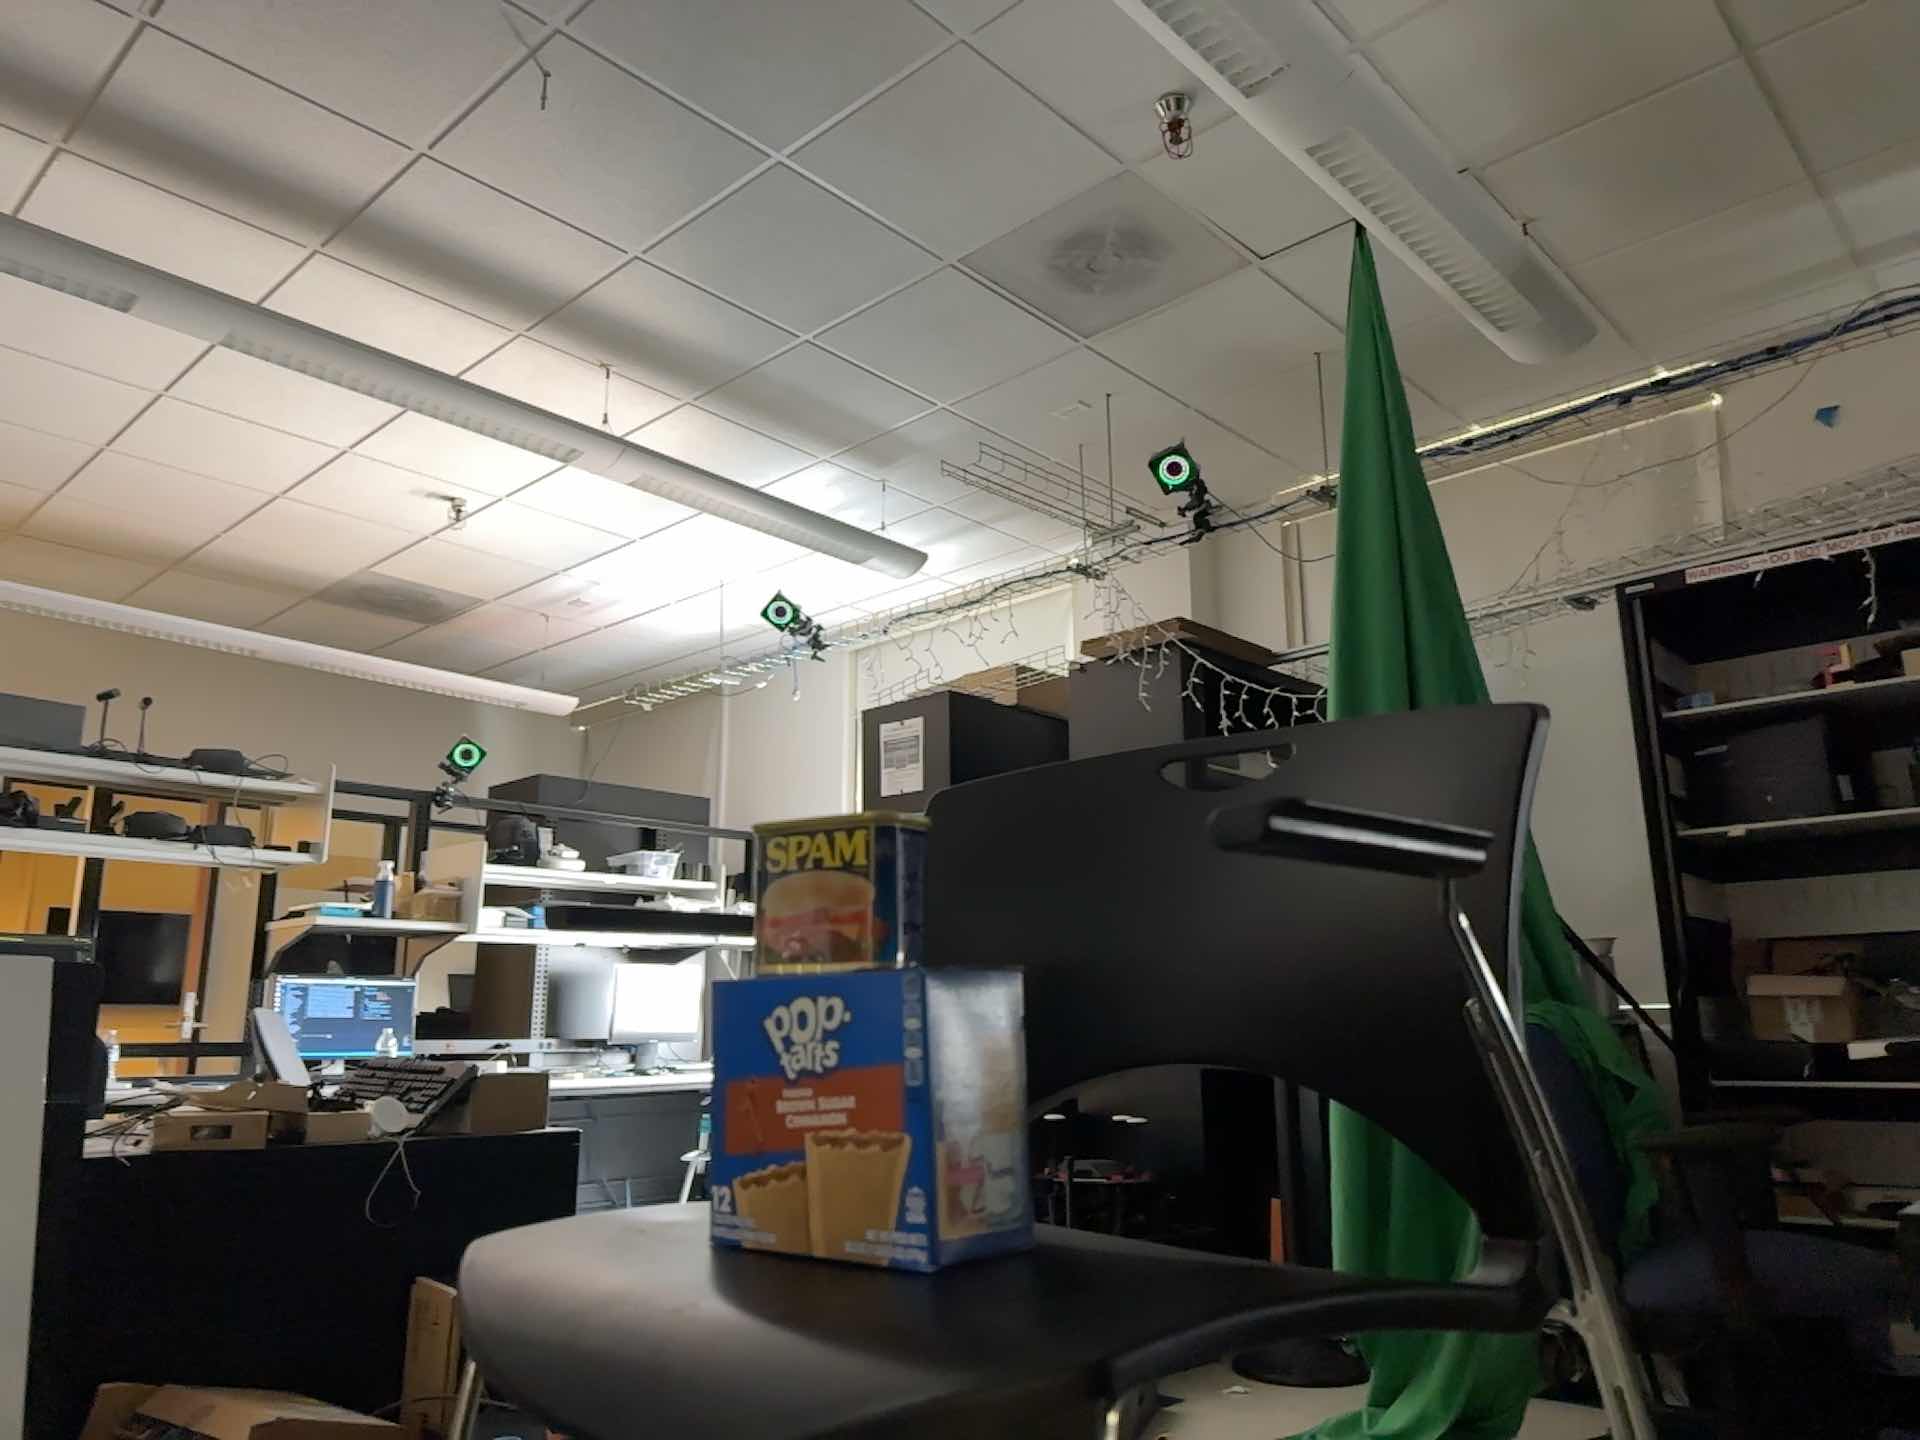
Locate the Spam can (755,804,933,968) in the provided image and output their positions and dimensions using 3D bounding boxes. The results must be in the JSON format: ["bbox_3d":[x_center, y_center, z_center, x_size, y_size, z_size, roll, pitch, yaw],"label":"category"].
[{"bbox_3d":[-0.065,0.093,0.743,0.100,0.083,0.056,-7,-11,36],"label":"Spam can"}]

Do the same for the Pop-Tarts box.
[{"bbox_3d":[-0.051,0.205,0.721,0.161,0.135,0.075,-10,-13,39],"label":"Pop-Tarts box"}]
